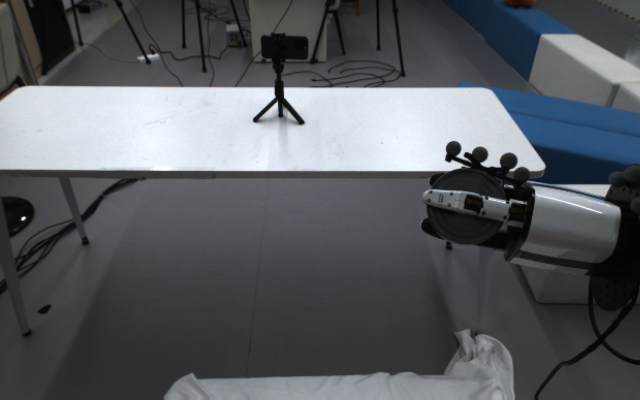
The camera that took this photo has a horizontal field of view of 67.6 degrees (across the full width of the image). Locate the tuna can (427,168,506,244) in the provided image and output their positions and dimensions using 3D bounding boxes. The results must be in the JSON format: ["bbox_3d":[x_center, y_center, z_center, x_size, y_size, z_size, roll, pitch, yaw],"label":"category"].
[{"bbox_3d":[0.167,0.005,0.548,0.085,0.085,0.034,14,-7,16],"label":"tuna can"}]
